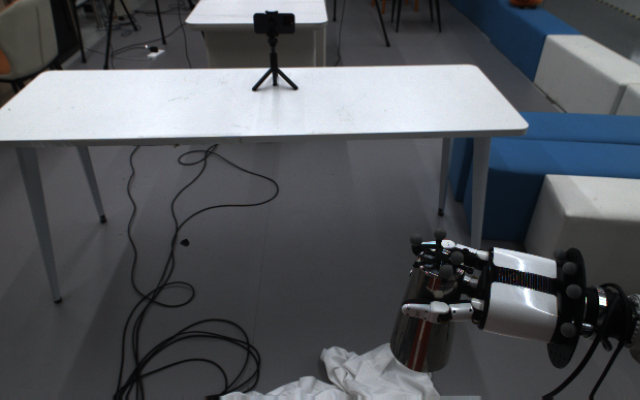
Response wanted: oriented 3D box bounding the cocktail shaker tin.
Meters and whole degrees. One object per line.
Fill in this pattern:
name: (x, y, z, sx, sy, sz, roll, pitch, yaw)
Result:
cocktail shaker tin: (0.159, 0.152, 0.699, 0.093, 0.170, 0.093, 3, 32, -2)
